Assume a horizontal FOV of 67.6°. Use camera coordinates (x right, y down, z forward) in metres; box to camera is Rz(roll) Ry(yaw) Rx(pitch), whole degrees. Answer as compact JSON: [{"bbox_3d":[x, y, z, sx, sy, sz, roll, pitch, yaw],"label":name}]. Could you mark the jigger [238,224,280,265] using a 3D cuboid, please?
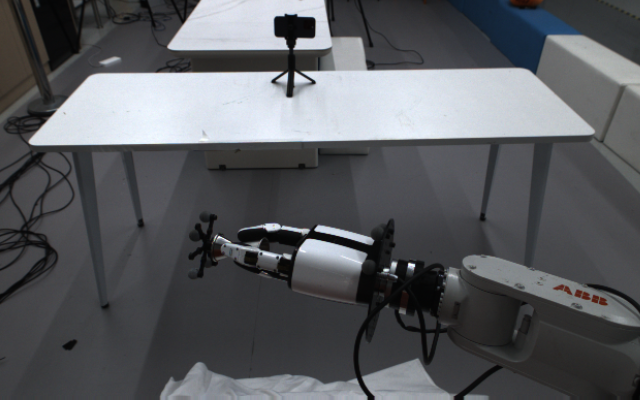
[{"bbox_3d":[-0.102,0.066,0.659,0.071,0.043,0.043,6,35,14],"label":"jigger"}]
